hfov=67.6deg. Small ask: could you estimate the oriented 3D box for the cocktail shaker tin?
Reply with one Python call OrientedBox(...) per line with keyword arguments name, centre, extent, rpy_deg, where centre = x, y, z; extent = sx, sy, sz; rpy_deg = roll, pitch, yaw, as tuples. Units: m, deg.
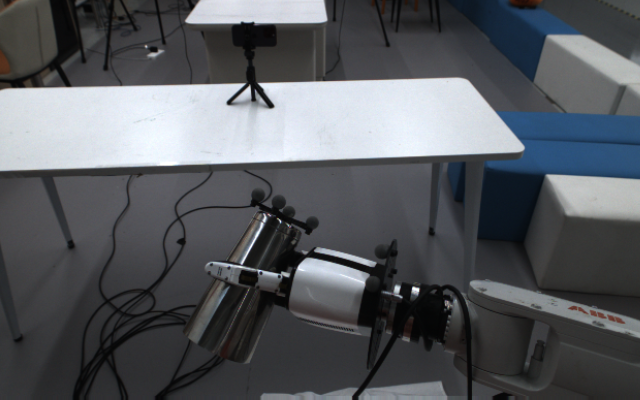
OrientedBox(name="cocktail shaker tin", centre=(-0.087, 0.102, 0.606), extent=(0.093, 0.093, 0.170), rpy_deg=(21, 81, 25))
